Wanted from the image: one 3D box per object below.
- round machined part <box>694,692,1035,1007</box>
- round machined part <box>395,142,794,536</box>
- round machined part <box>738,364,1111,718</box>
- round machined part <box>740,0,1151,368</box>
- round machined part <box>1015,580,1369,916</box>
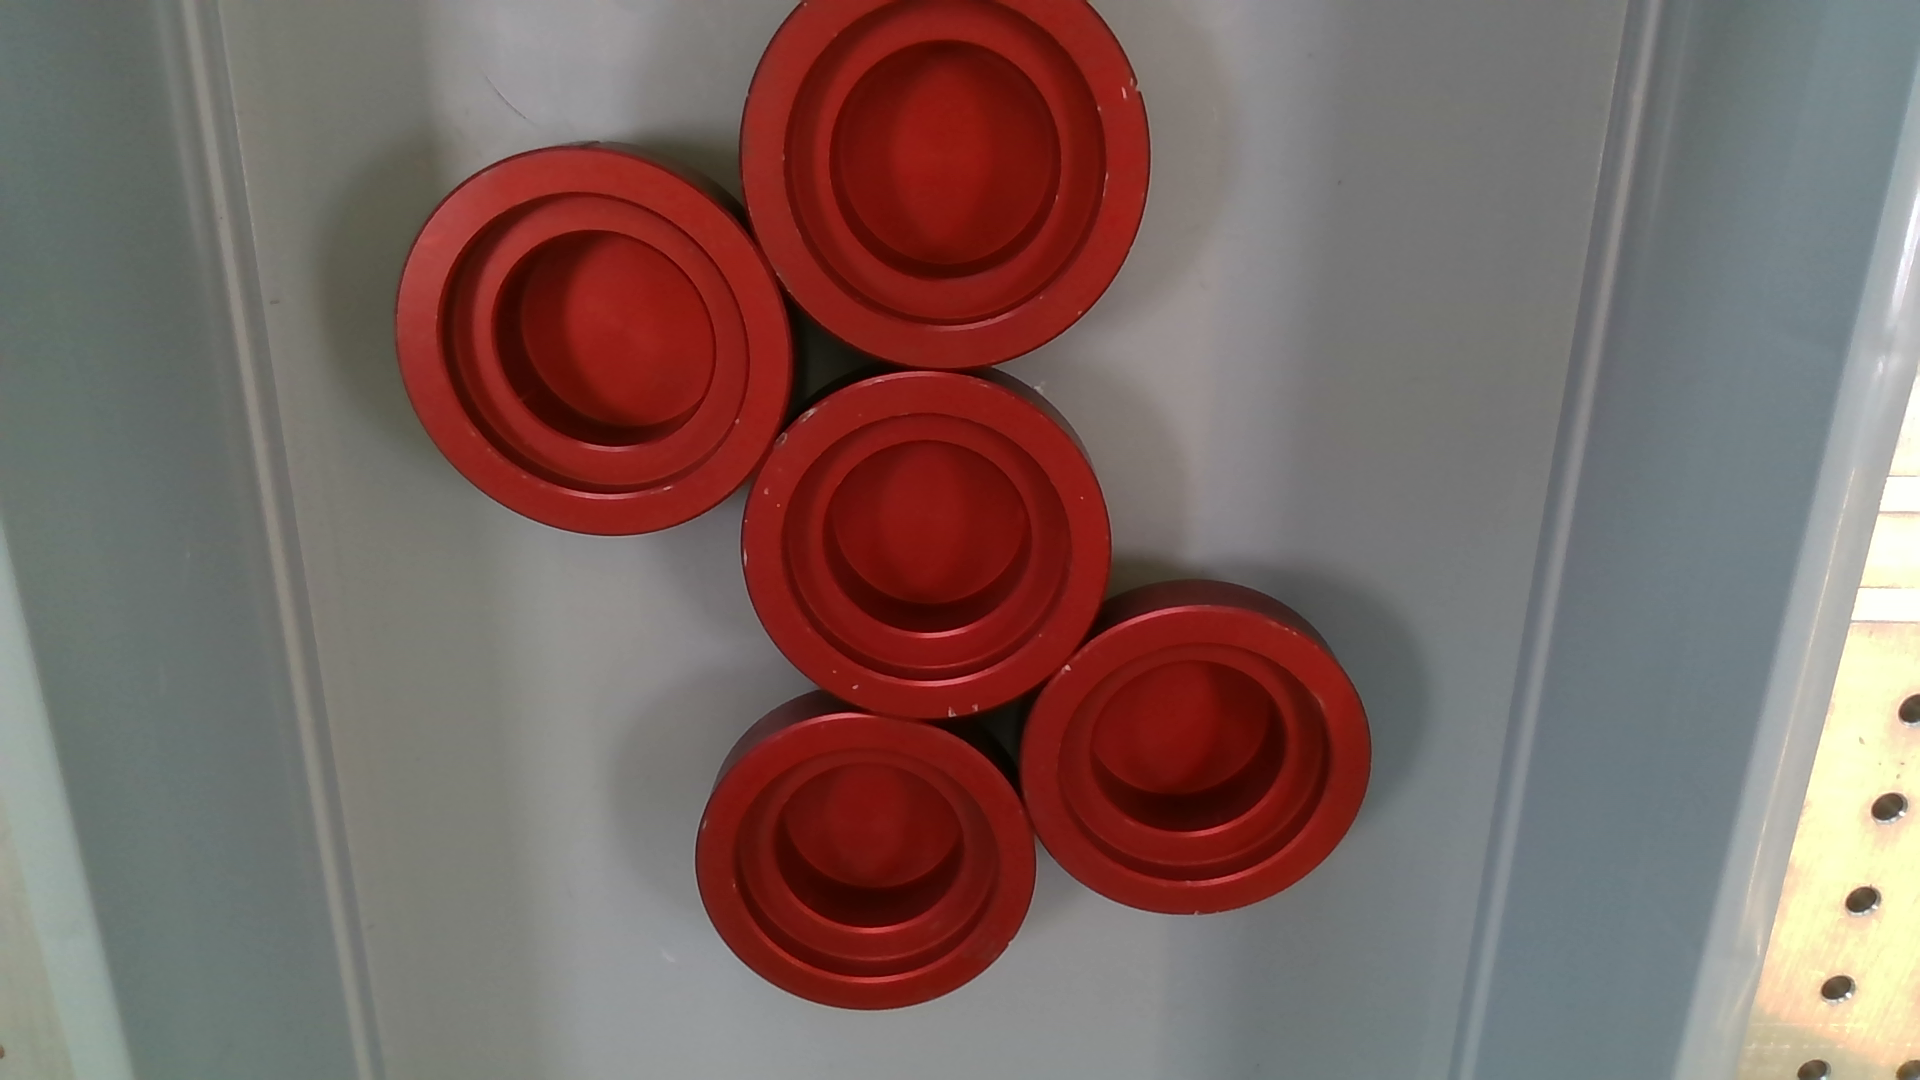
[{"bbox_3d":[-0.027,0.087,0.414,0.098,0.042,0.098,0,110,0],"label":"round machined part"},{"bbox_3d":[-0.091,-0.054,0.362,0.098,0.042,0.098,0,110,0],"label":"round machined part"},{"bbox_3d":[-0.009,-0.004,0.380,0.098,0.042,0.098,0,110,0],"label":"round machined part"},{"bbox_3d":[-0.004,-0.096,0.347,0.098,0.042,0.098,0,110,0],"label":"round machined part"},{"bbox_3d":[0.065,0.057,0.403,0.098,0.042,0.098,0,110,0],"label":"round machined part"}]
